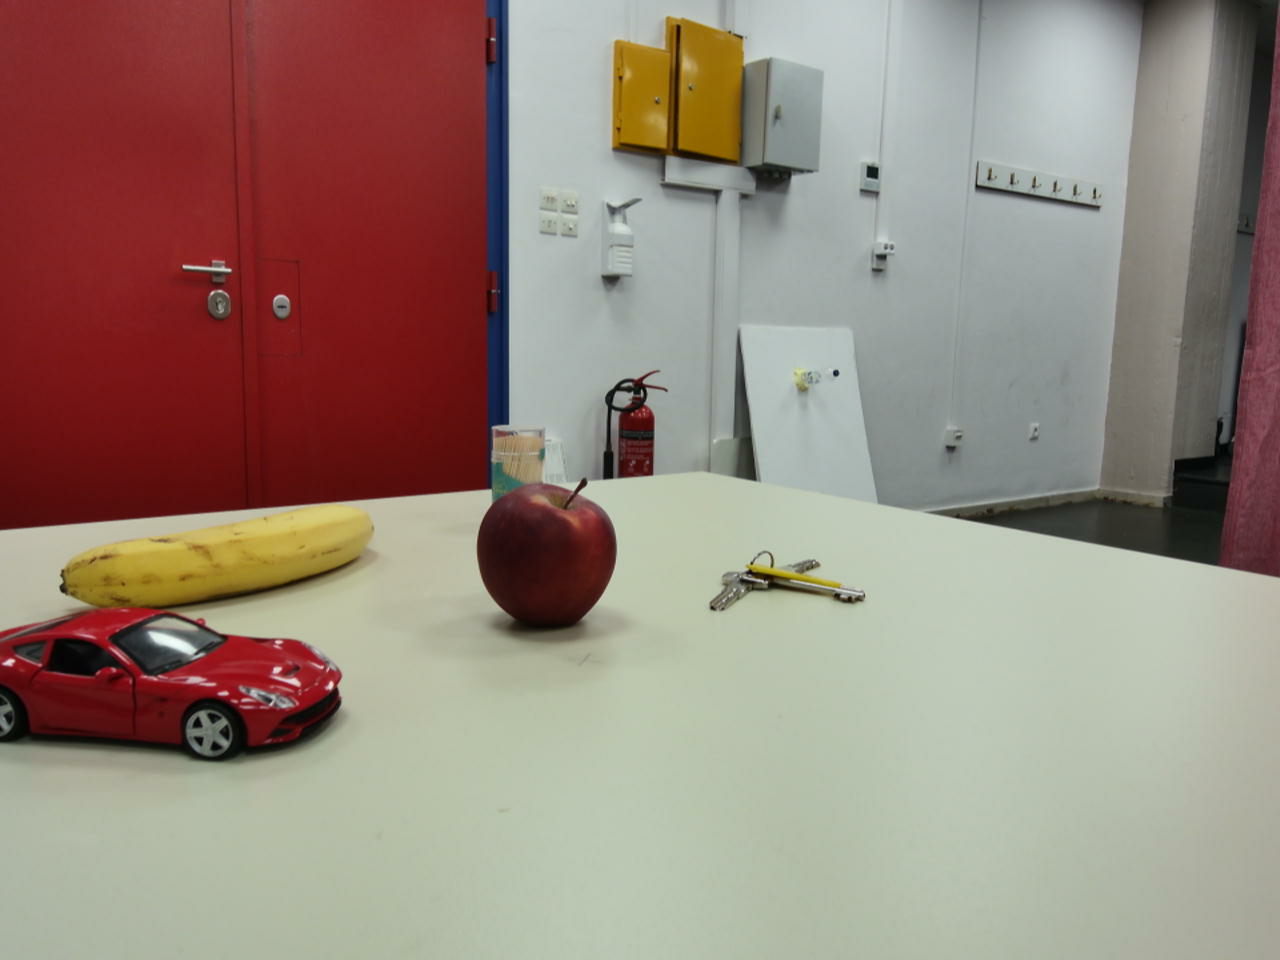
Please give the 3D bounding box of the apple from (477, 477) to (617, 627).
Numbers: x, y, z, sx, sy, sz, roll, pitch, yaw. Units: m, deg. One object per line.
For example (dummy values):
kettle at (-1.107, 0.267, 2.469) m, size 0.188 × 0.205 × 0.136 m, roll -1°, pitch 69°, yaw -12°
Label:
apple at (-0.047, 0.037, 0.503) m, size 0.070 × 0.072 × 0.070 m, roll 0°, pitch 7°, yaw 0°
